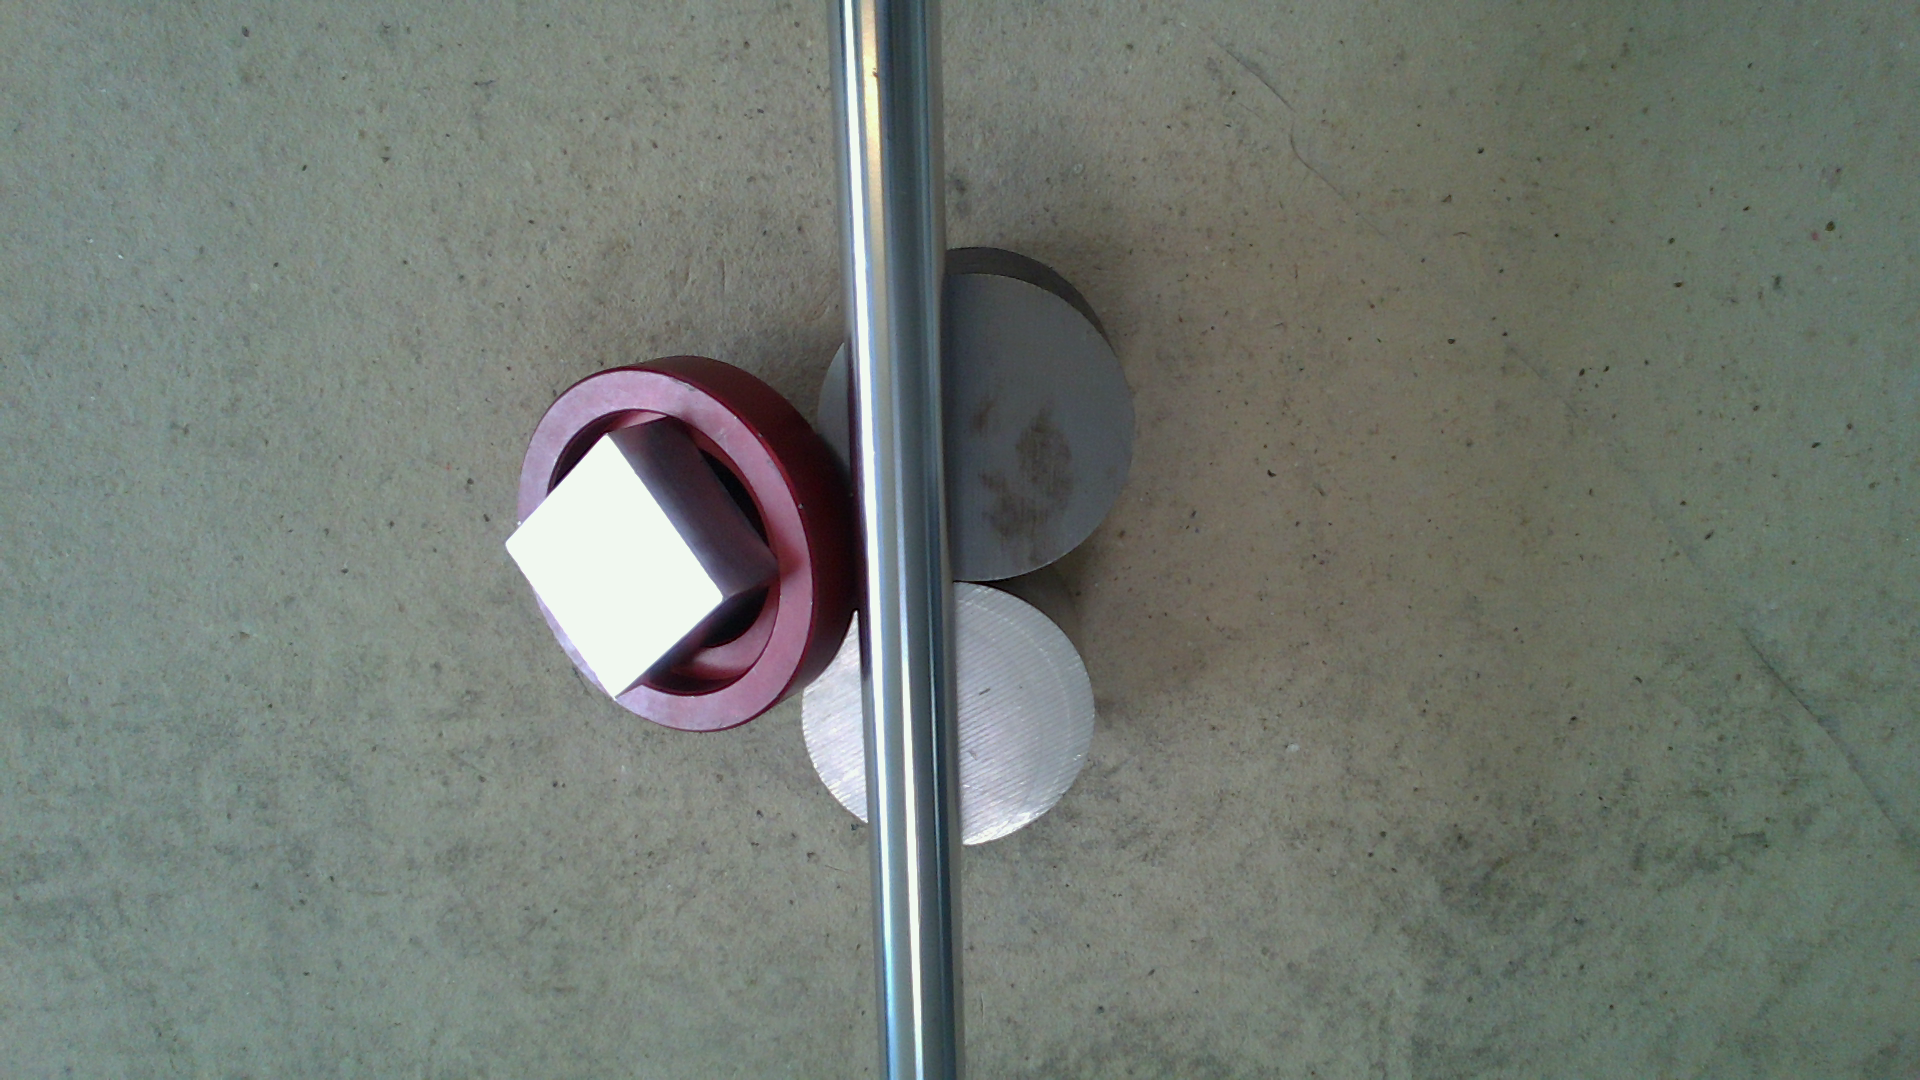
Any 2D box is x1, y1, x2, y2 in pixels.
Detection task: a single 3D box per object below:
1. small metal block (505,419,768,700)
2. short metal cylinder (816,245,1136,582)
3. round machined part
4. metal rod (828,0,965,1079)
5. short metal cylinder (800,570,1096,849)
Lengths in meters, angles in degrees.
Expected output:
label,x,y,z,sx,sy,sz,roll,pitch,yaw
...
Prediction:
label,x,y,z,sx,sy,sz,roll,pitch,yaw
small metal block,-0.081,0.004,0.352,0.050,0.025,0.050,-39,84,32
short metal cylinder,0.004,-0.035,0.368,0.080,0.050,0.080,0,110,0
round machined part,-0.068,-0.001,0.370,0.098,0.042,0.098,9,110,27
metal rod,-0.014,0.012,0.345,0.025,0.025,0.300,-1,110,0
short metal cylinder,-0.003,0.041,0.395,0.080,0.050,0.080,0,109,0
